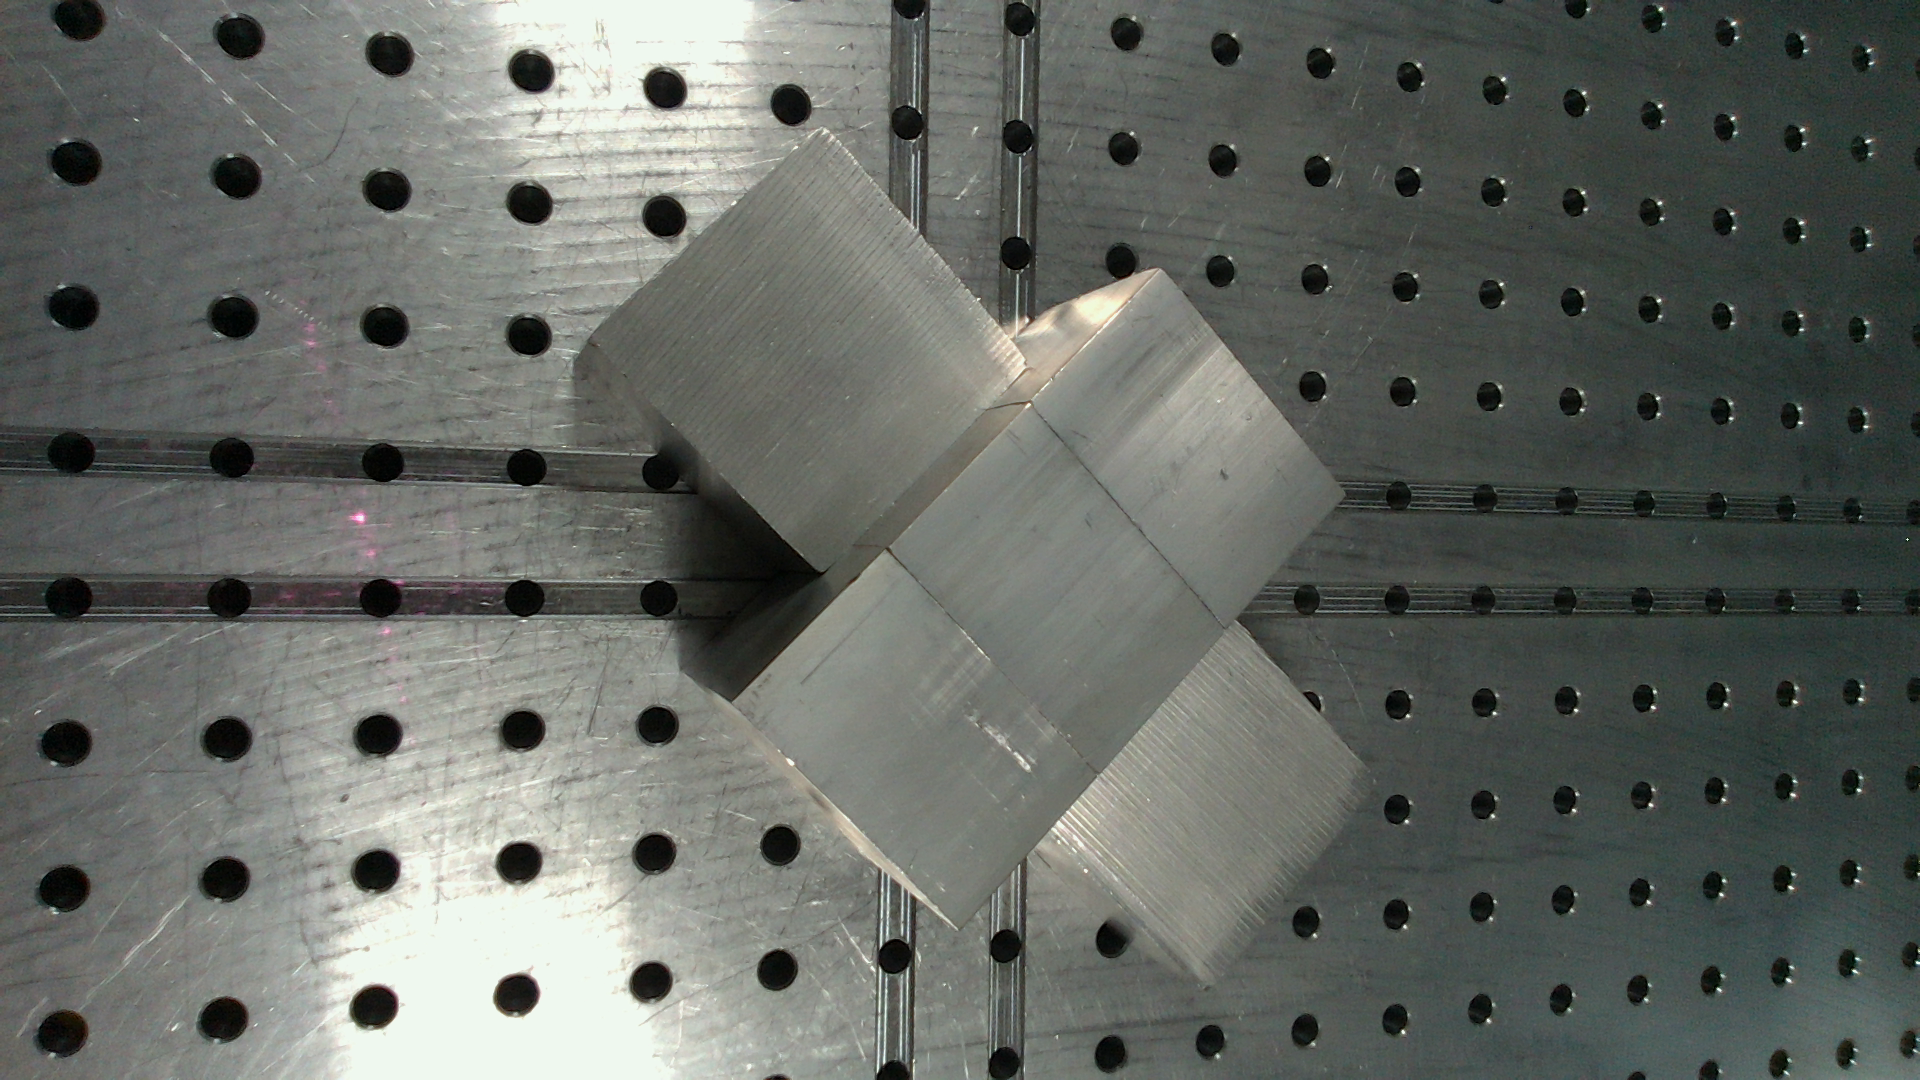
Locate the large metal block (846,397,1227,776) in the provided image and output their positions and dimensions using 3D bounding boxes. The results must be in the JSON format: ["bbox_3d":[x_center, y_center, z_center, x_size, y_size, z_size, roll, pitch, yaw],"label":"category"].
[{"bbox_3d":[0.011,0.012,0.371,0.050,0.080,0.080,-46,104,-14],"label":"large metal block"}]

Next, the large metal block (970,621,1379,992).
[{"bbox_3d":[0.060,0.069,0.405,0.080,0.050,0.080,-45,104,-13],"label":"large metal block"}]

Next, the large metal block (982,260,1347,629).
[{"bbox_3d":[0.045,-0.024,0.384,0.050,0.080,0.080,-46,104,-14],"label":"large metal block"}]

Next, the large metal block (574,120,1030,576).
[{"bbox_3d":[-0.042,-0.048,0.364,0.080,0.050,0.080,-47,104,-13],"label":"large metal block"}]

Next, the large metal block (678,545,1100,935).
[{"bbox_3d":[-0.022,0.047,0.359,0.050,0.080,0.080,-46,104,-14],"label":"large metal block"}]
